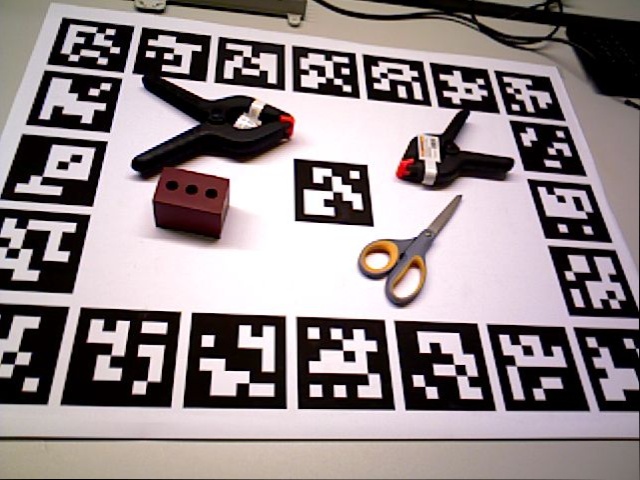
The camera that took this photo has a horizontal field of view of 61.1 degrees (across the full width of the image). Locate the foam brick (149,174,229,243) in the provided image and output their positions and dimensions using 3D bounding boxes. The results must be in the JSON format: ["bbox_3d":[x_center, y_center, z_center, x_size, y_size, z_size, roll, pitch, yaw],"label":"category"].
[{"bbox_3d":[-0.148,-0.035,0.624,0.078,0.052,0.052,8,59,-2],"label":"foam brick"}]

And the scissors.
[{"bbox_3d":[0.125,0.002,0.670,0.087,0.016,0.198,40,58,4],"label":"scissors"}]

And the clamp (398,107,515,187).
[{"bbox_3d":[0.179,-0.119,0.750,0.162,0.037,0.121,-23,73,-22],"label":"clamp"}]

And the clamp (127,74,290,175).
[{"bbox_3d":[-0.139,-0.147,0.699,0.200,0.037,0.163,0,56,-12],"label":"clamp"}]
